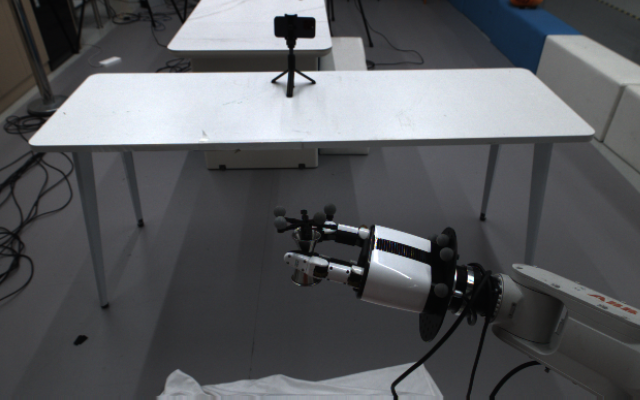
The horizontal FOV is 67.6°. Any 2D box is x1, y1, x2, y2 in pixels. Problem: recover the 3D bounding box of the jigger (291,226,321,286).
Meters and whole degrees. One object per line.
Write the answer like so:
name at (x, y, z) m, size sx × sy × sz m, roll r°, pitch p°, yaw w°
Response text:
jigger at (-0.019, 0.078, 0.668) m, size 0.043 × 0.071 × 0.043 m, roll 0°, pitch 21°, yaw 0°
